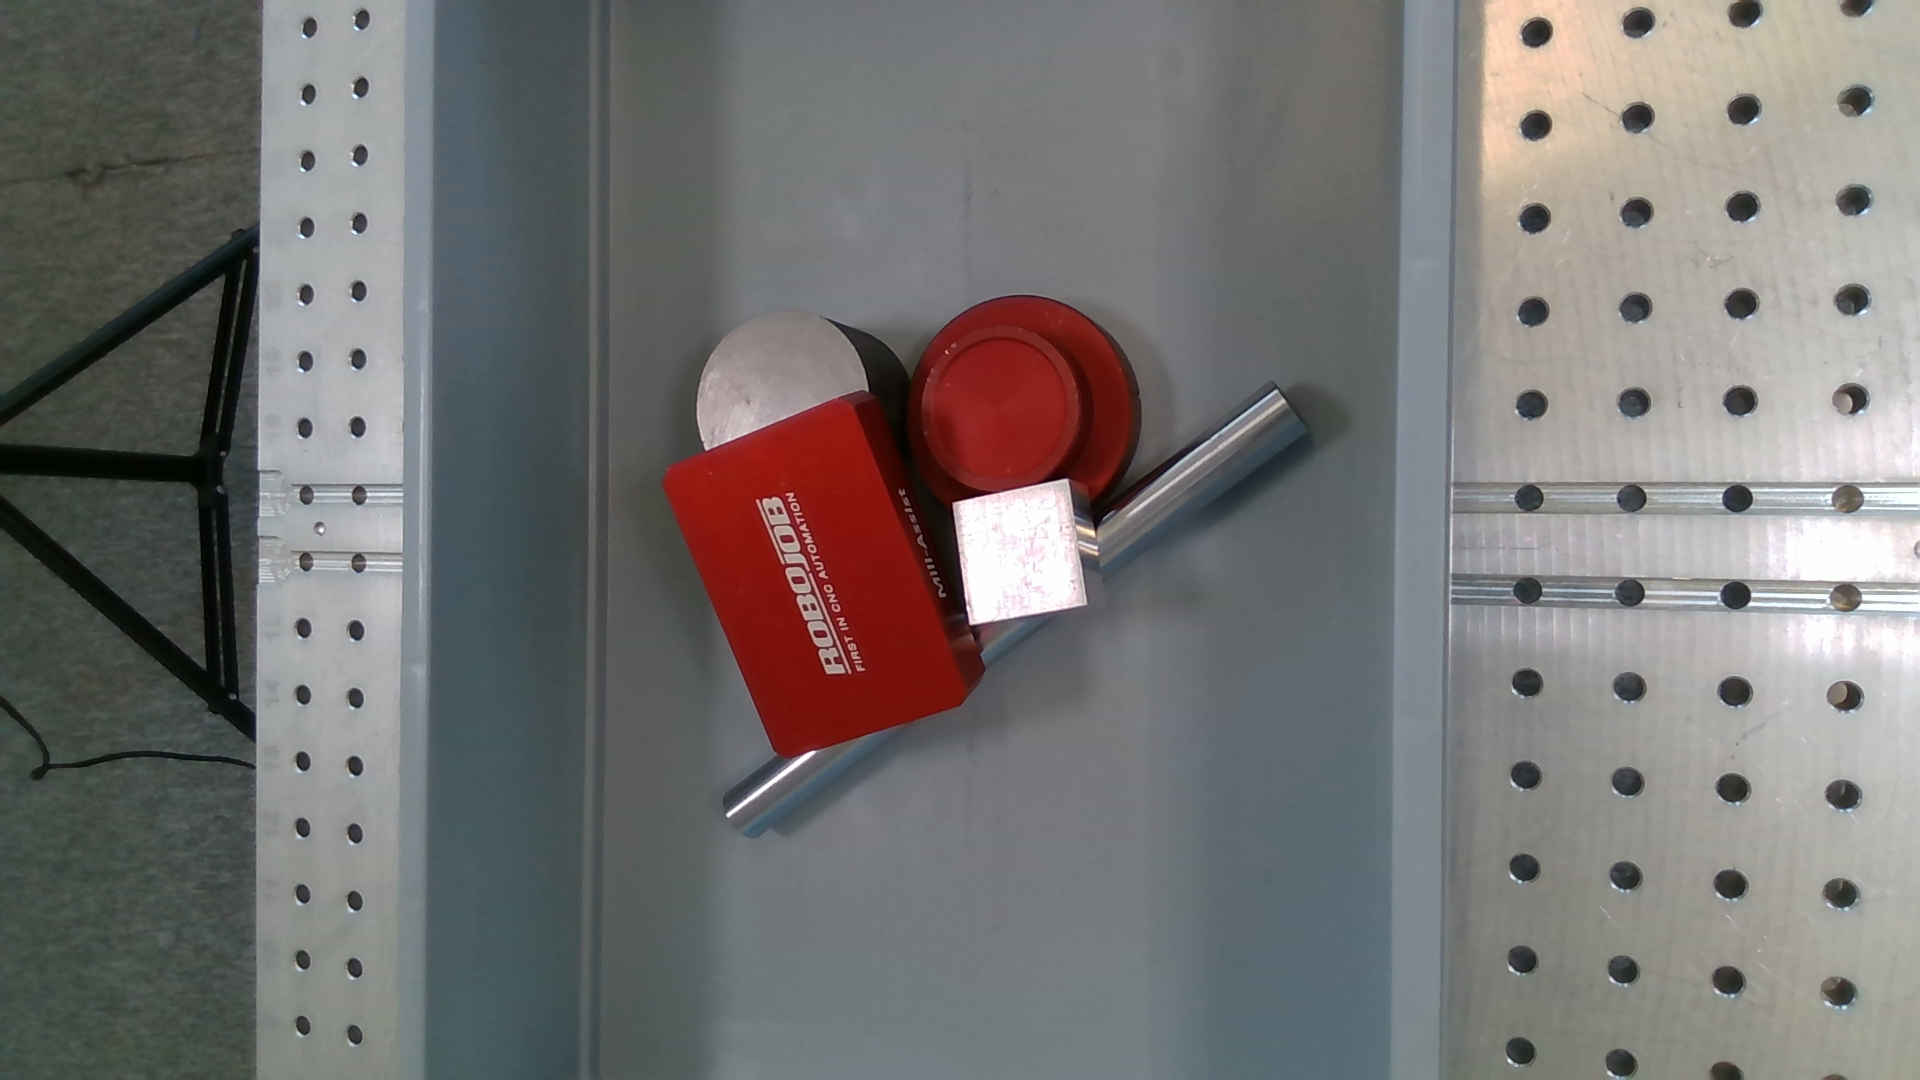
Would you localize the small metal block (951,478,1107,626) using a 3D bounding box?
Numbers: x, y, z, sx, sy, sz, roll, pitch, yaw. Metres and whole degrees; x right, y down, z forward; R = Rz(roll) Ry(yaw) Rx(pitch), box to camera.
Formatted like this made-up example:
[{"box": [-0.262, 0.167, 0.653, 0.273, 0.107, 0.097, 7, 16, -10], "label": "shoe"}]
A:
[{"box": [0.027, 0.006, 0.549, 0.050, 0.025, 0.050, -11, 81, 23], "label": "small metal block"}]

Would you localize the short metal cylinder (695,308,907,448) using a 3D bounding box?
[{"box": [-0.066, -0.056, 0.595, 0.080, 0.050, 0.080, 0, 91, 20], "label": "short metal cylinder"}]

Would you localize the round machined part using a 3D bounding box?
[{"box": [0.022, -0.053, 0.566, 0.098, 0.042, 0.098, 0, 89, 20], "label": "round machined part"}]

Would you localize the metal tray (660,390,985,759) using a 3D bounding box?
[{"box": [-0.056, 0.015, 0.562, 0.090, 0.030, 0.130, -19, 97, 20], "label": "metal tray"}]

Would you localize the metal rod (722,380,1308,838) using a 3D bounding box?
[{"box": [0.015, 0.035, 0.580, 0.300, 0.025, 0.025, -38, 78, 17], "label": "metal rod"}]
